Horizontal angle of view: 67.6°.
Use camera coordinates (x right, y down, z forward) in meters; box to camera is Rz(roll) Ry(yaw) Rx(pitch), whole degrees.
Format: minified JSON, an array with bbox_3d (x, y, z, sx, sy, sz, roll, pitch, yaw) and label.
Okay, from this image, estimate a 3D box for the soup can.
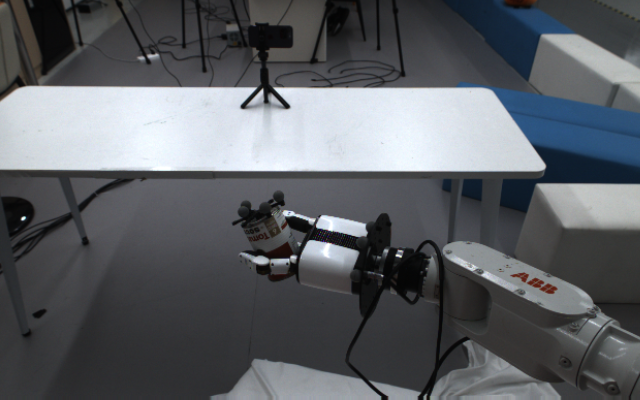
[{"bbox_3d":[-0.071,0.068,0.760,0.067,0.101,0.067,-24,16,7],"label":"soup can"}]
